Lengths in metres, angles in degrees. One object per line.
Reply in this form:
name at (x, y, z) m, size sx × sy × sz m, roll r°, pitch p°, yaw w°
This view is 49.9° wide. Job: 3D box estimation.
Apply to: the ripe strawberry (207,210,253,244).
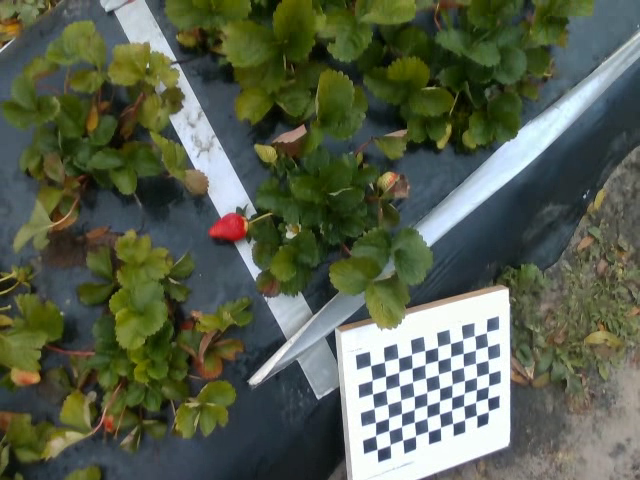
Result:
ripe strawberry at (-0.116, -0.015, 0.835) m, size 0.051 × 0.042 × 0.037 m, roll -16°, pitch 23°, yaw -22°
